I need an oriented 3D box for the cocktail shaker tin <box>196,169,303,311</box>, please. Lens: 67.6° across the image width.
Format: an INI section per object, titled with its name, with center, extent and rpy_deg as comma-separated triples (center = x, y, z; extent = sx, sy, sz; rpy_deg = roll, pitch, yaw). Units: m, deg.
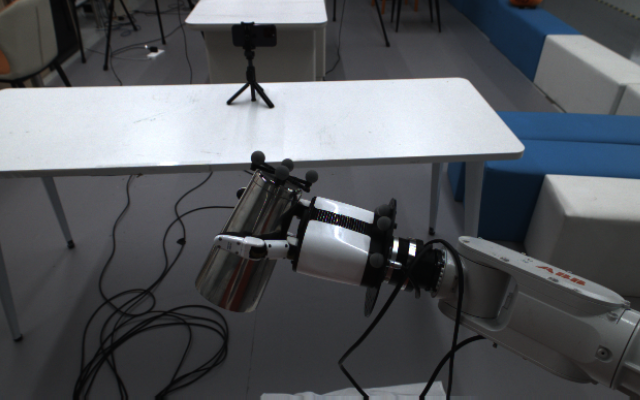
[cocktail shaker tin]
center = -0.086, 0.048, 0.632
extent = 0.093, 0.170, 0.093
rpy_deg = 24, 13, -6
